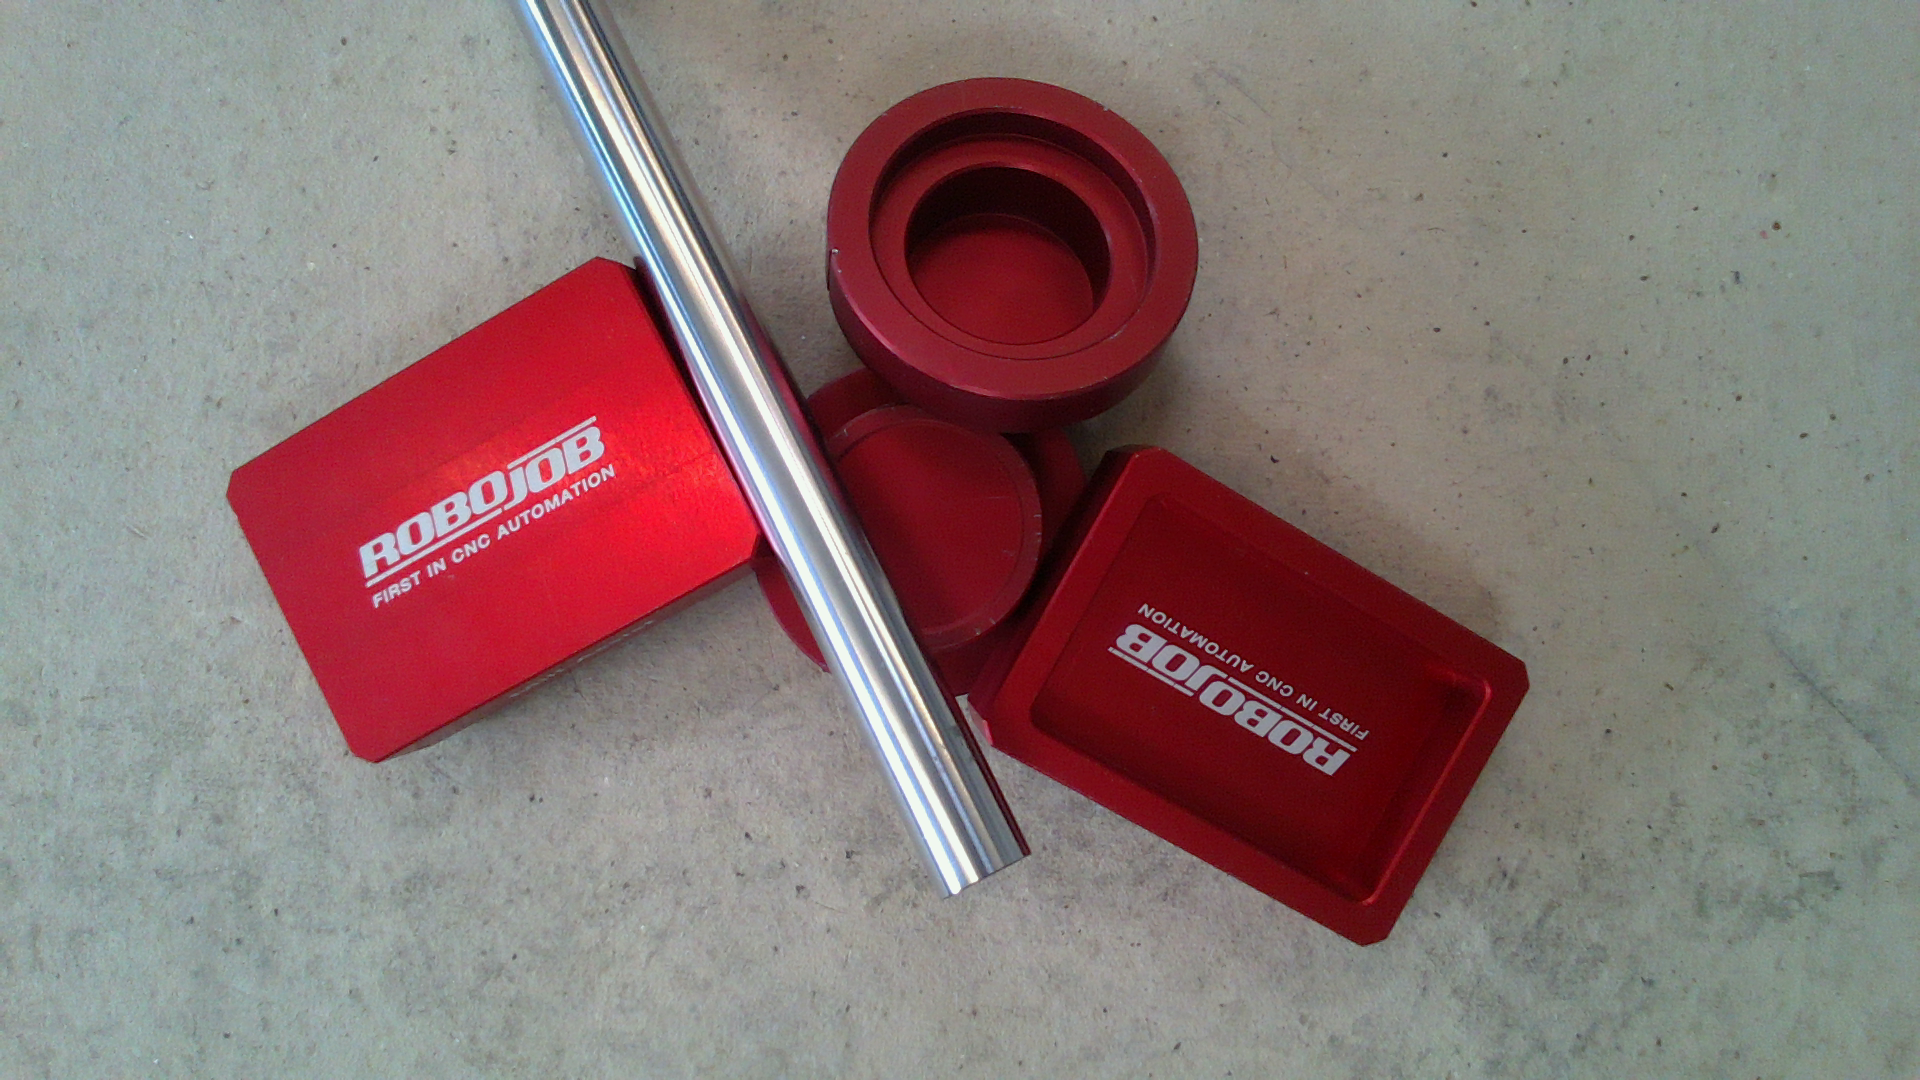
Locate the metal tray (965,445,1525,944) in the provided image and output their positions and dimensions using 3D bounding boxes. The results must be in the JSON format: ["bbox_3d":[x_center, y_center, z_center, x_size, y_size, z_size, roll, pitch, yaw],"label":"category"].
[{"bbox_3d":[0.079,0.042,0.382,0.130,0.030,0.090,30,90,-11],"label":"metal tray"}]

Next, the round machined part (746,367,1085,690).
[{"bbox_3d":[-0.011,-0.004,0.387,0.098,0.042,0.098,0,90,0],"label":"round machined part"}]

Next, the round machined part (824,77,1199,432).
[{"bbox_3d":[0.012,-0.073,0.376,0.098,0.042,0.098,2,68,-6],"label":"round machined part"}]

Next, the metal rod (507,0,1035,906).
[{"bbox_3d":[-0.060,-0.048,0.362,0.025,0.025,0.300,-27,77,0],"label":"metal rod"}]

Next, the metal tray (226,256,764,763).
[{"bbox_3d":[-0.125,-0.007,0.381,0.130,0.030,0.090,-28,87,9],"label":"metal tray"}]
